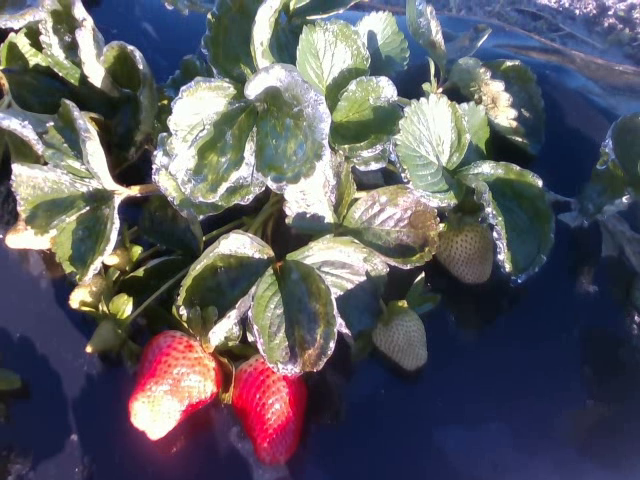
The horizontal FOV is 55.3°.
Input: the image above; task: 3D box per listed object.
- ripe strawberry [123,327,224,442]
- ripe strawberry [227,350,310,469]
[{"bbox_3d":[-0.084,0.087,0.344,0.052,0.070,0.040,30,-18,-6],"label":"ripe strawberry"},{"bbox_3d":[-0.030,0.092,0.338,0.043,0.059,0.040,-17,-13,-7],"label":"ripe strawberry"}]
